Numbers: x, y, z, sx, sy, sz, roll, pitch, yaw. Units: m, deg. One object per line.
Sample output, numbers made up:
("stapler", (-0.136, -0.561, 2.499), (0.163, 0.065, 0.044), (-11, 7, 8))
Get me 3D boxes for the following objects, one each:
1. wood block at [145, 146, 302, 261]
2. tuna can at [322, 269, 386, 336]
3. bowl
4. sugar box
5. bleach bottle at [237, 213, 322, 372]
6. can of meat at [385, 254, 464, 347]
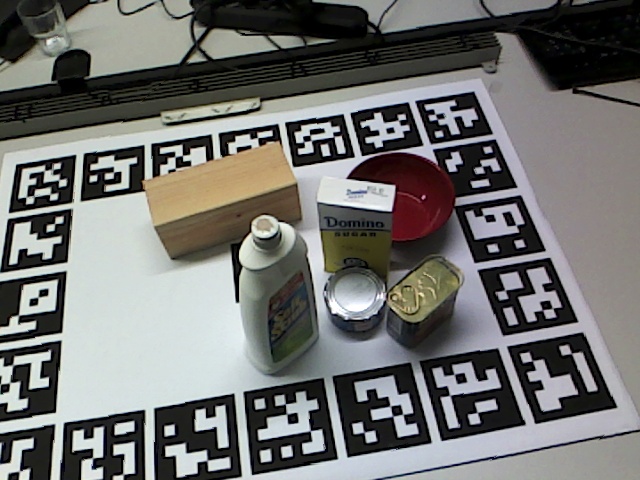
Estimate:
("wood block", (-0.139, -0.055, 0.914), (0.206, 0.089, 0.091), (-17, 60, -8))
("tuna can", (0.046, 0.084, 0.826), (0.086, 0.033, 0.086), (-3, 58, 4))
("bowl", (0.124, -0.053, 0.906), (0.162, 0.055, 0.162), (-5, 55, 6))
("sugar box", (0.054, -0.009, 0.805), (0.093, 0.175, 0.045), (6, 58, 13))
("bleach bottle", (-0.056, 0.060, 0.725), (0.102, 0.250, 0.068), (-32, 57, -16))
("can of meat", (0.133, 0.080, 0.799), (0.101, 0.083, 0.058), (-35, 56, -20))
